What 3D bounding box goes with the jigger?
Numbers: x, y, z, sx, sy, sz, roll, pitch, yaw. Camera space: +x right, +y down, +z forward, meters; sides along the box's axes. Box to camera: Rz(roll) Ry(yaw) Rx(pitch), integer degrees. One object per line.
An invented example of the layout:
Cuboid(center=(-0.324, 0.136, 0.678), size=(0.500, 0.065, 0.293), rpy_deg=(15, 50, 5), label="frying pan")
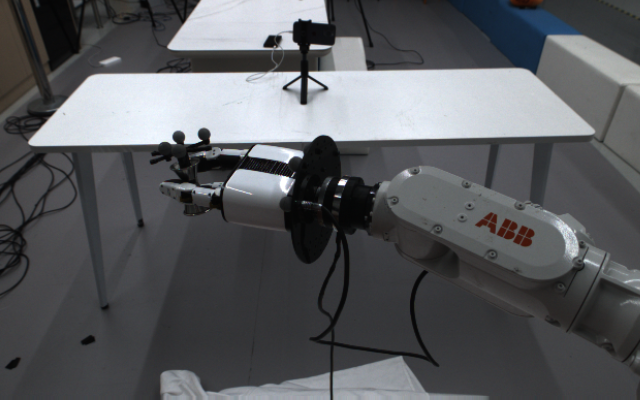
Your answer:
Cuboid(center=(-0.170, -0.019, 0.658), size=(0.043, 0.071, 0.043), rpy_deg=(-10, 24, 4), label="jigger")
